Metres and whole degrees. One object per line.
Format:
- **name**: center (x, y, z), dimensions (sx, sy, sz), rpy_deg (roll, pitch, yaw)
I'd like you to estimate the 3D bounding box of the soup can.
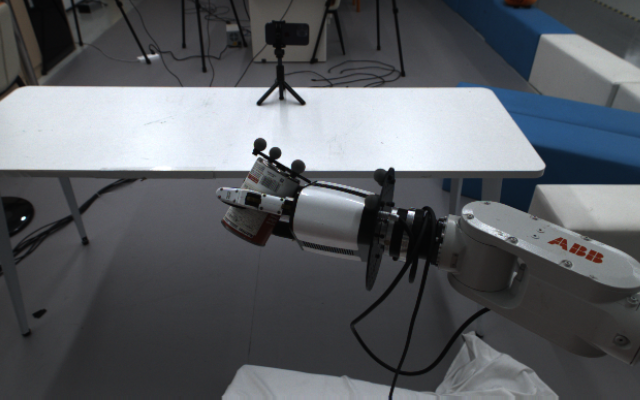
- **soup can**: center (-0.078, 0.003, 0.651), dimensions (0.067, 0.101, 0.067), rpy_deg (30, 2, -1)
